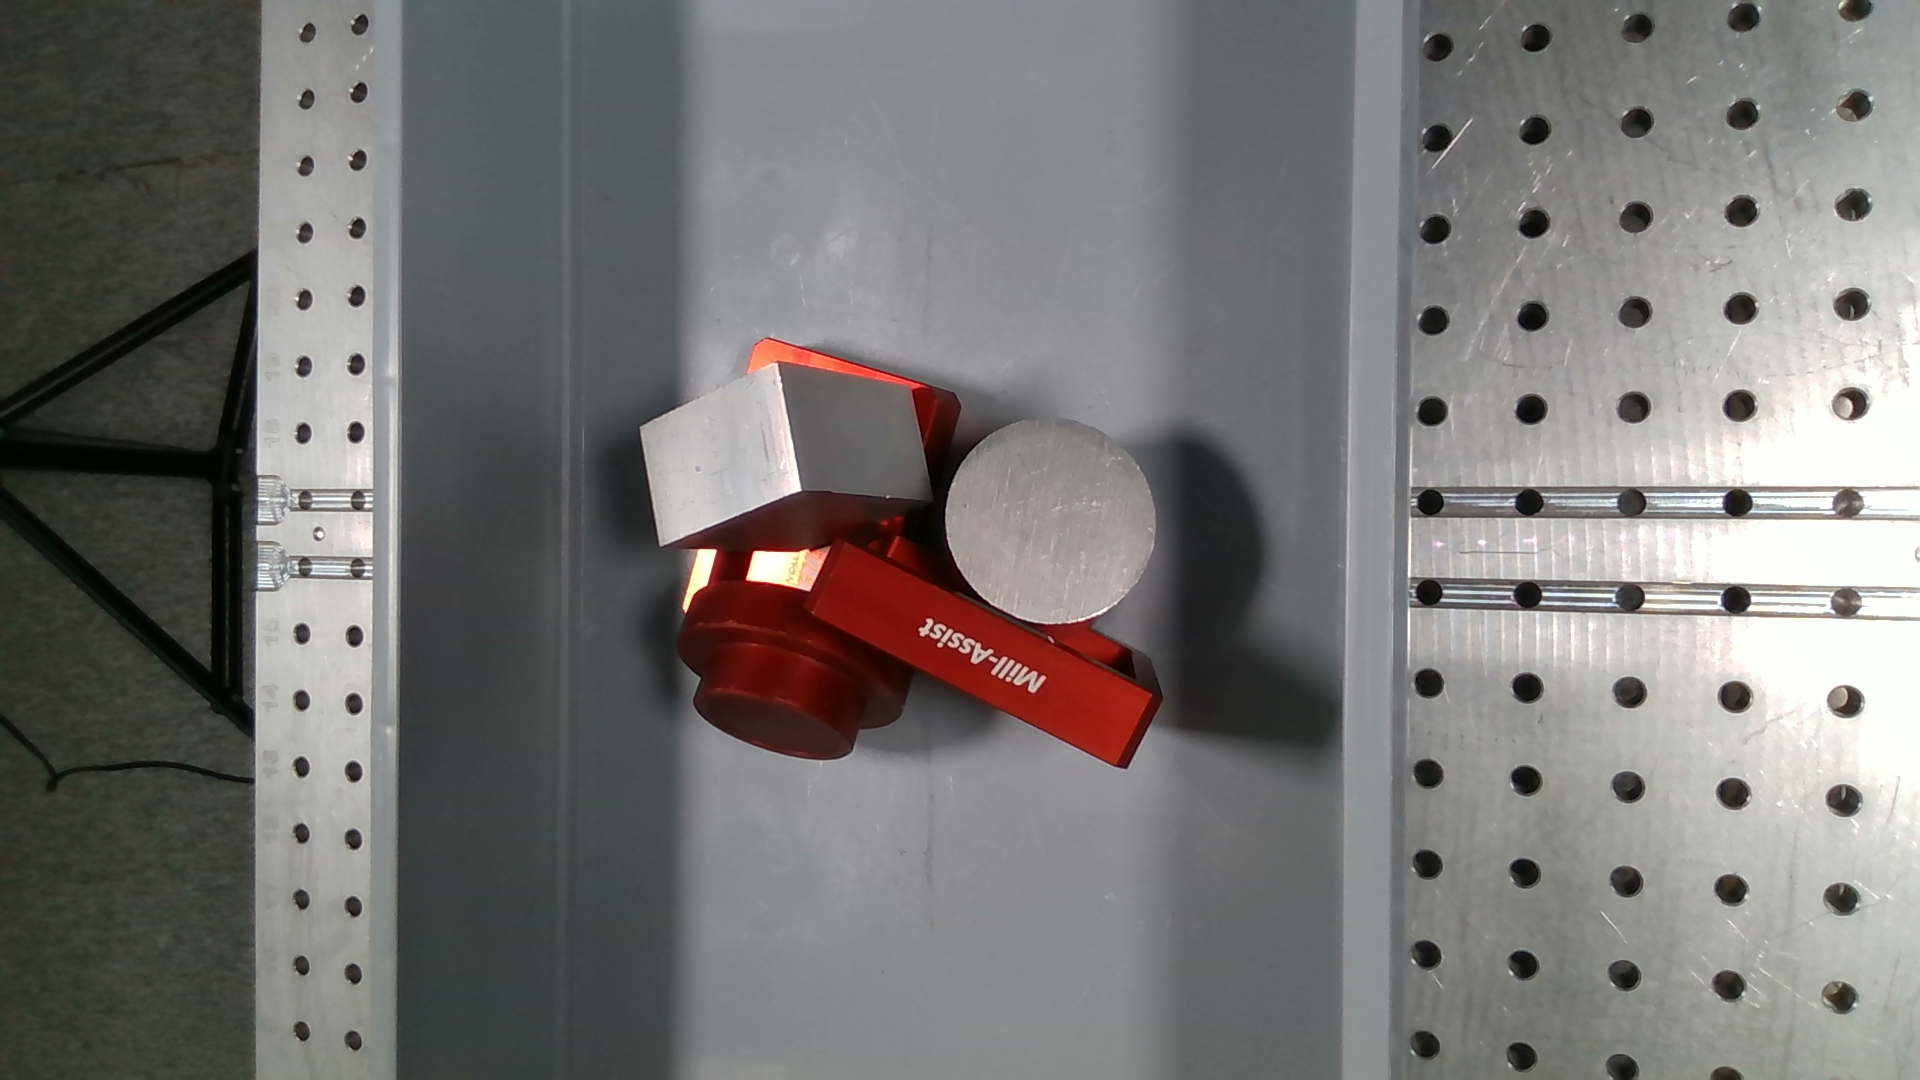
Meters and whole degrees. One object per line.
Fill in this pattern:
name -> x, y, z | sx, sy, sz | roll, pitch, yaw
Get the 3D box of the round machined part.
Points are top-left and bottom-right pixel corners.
round machined part -> -0.072, 0.059, 0.569 | 0.098, 0.098, 0.042 | 6, 62, 20

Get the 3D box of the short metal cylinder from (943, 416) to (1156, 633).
short metal cylinder -> 0.033, -0.003, 0.543 | 0.080, 0.050, 0.080 | 1, 79, -3

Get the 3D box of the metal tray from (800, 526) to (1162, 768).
metal tray -> 0.010, 0.037, 0.530 | 0.130, 0.090, 0.030 | 26, 96, 2

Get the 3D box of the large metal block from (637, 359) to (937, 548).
large metal block -> -0.069, -0.031, 0.556 | 0.080, 0.080, 0.050 | -19, 77, 35

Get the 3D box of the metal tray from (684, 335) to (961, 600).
metal tray -> -0.062, -0.015, 0.603 | 0.090, 0.030, 0.130 | 18, 96, 19
